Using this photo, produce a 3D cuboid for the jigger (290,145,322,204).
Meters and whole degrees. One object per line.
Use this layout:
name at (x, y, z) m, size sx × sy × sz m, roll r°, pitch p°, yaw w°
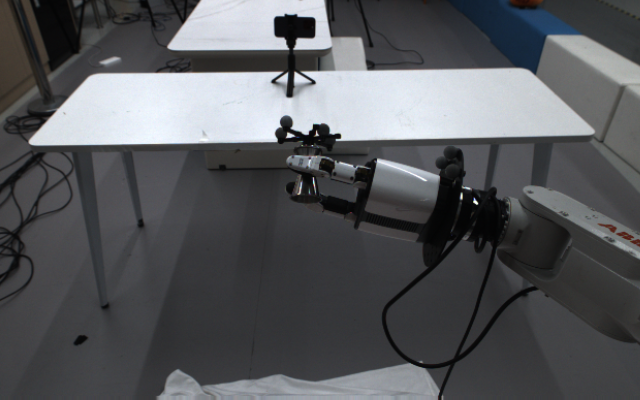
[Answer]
jigger at (-0.018, -0.035, 0.636) m, size 0.043 × 0.043 × 0.071 m, roll 3°, pitch 76°, yaw 1°
